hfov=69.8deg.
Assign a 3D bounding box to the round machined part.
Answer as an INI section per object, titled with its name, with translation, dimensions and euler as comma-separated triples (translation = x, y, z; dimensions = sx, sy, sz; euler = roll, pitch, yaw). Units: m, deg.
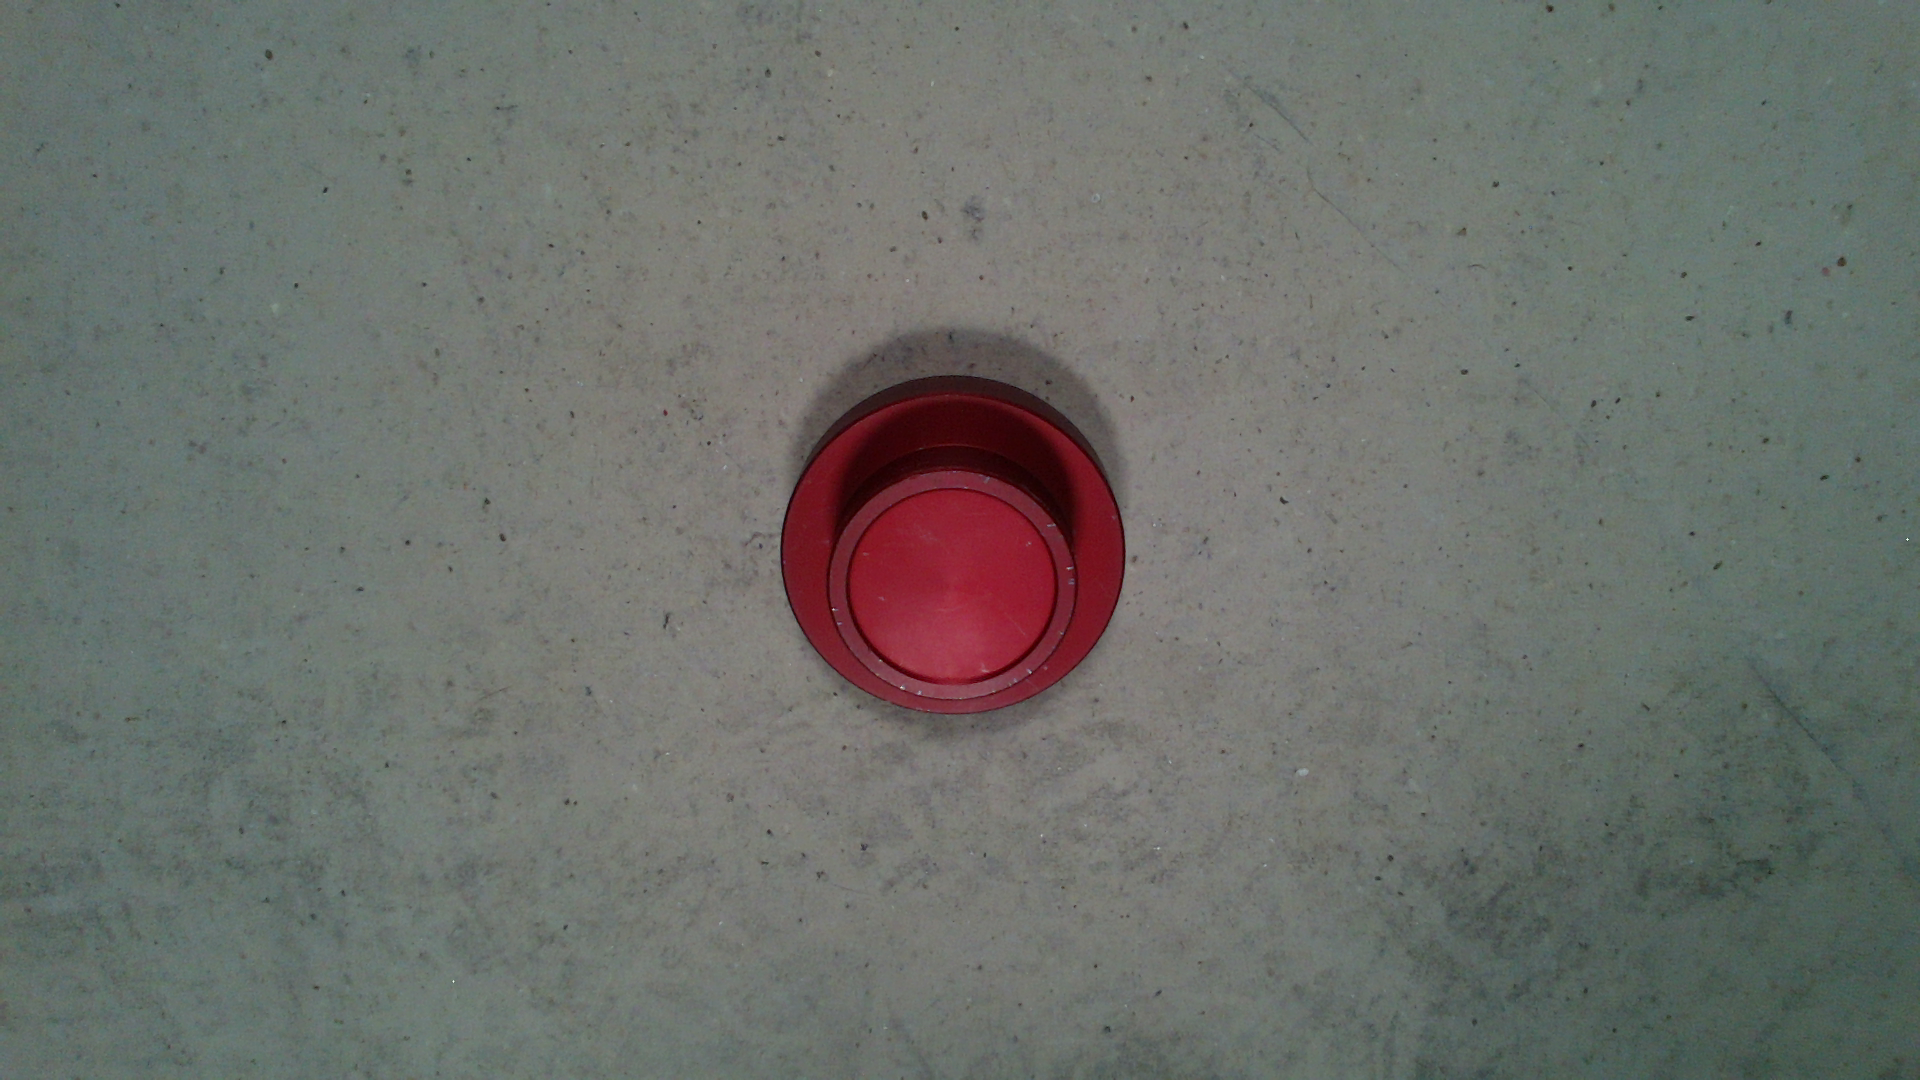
[round machined part]
translation = -0.002, 0.006, 0.387
dimensions = 0.098, 0.042, 0.098
euler = 0, 110, 0
